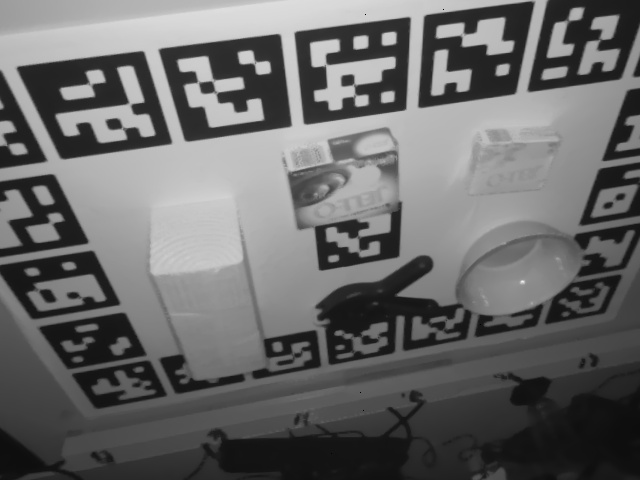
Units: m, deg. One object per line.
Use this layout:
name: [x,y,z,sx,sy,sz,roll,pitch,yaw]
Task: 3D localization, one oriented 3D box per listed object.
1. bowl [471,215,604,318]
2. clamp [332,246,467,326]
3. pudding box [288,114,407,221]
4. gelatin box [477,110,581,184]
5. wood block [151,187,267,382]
bowl: [0.253,0.022,0.837,0.162,0.055,0.160,-6,133,-6]
clamp: [0.095,0.069,0.862,0.165,0.037,0.121,-16,136,5]
pudding box: [0.030,-0.072,0.692,0.114,0.039,0.089,-12,132,-5]
gelatin box: [0.214,-0.095,0.716,0.090,0.030,0.072,-4,134,-10]
wood block: [-0.114,0.053,0.743,0.090,0.091,0.204,-7,135,-4]
